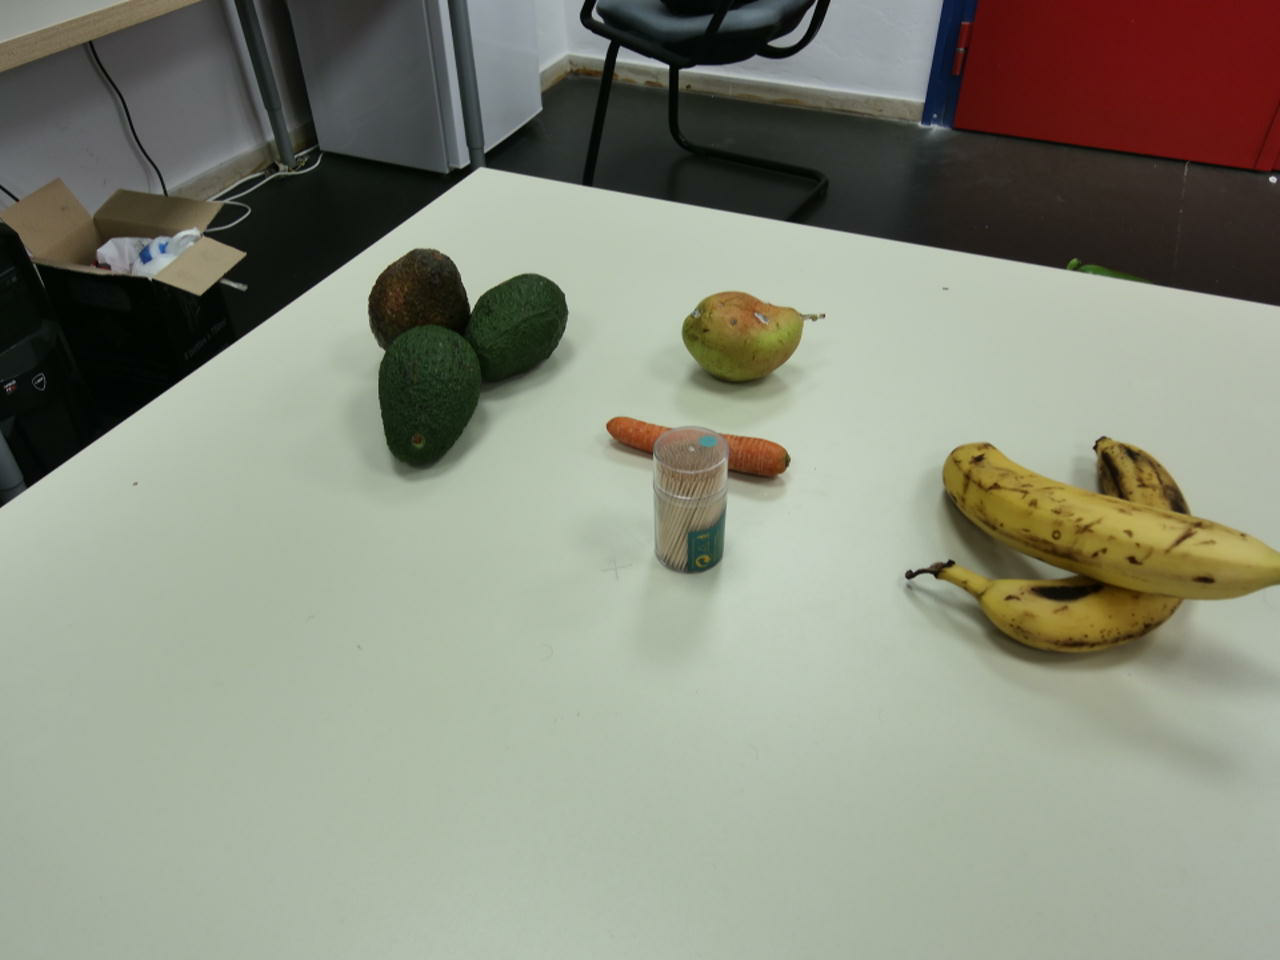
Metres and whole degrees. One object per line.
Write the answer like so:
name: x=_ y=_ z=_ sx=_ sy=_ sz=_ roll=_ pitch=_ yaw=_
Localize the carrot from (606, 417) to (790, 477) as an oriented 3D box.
carrot: x=0.035 y=-0.023 z=0.636 sx=0.122 sy=0.023 sz=0.024 roll=14 pitch=40 yaw=17
